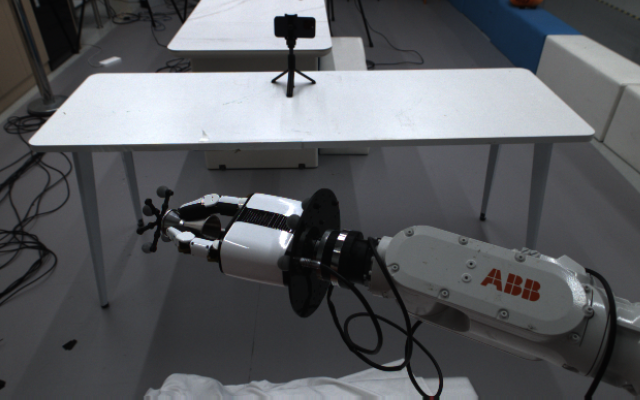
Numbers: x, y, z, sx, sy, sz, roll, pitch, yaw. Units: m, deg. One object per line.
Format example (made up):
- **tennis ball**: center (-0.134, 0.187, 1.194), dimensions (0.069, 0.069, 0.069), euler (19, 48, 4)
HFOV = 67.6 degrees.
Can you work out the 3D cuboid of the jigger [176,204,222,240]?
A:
- **jigger**: center (-0.170, 0.035, 0.657), dimensions (0.071, 0.043, 0.043), euler (10, 35, 22)
